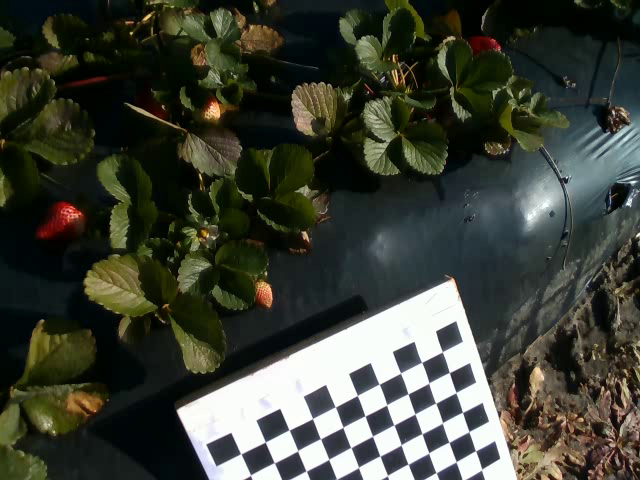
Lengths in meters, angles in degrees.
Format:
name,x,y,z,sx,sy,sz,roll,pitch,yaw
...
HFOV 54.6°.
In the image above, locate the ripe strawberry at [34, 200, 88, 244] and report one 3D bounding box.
name,x,y,z,sx,sy,sz,roll,pitch,yaw
ripe strawberry,-0.231,-0.013,0.552,0.056,0.041,0.045,-37,23,-32
